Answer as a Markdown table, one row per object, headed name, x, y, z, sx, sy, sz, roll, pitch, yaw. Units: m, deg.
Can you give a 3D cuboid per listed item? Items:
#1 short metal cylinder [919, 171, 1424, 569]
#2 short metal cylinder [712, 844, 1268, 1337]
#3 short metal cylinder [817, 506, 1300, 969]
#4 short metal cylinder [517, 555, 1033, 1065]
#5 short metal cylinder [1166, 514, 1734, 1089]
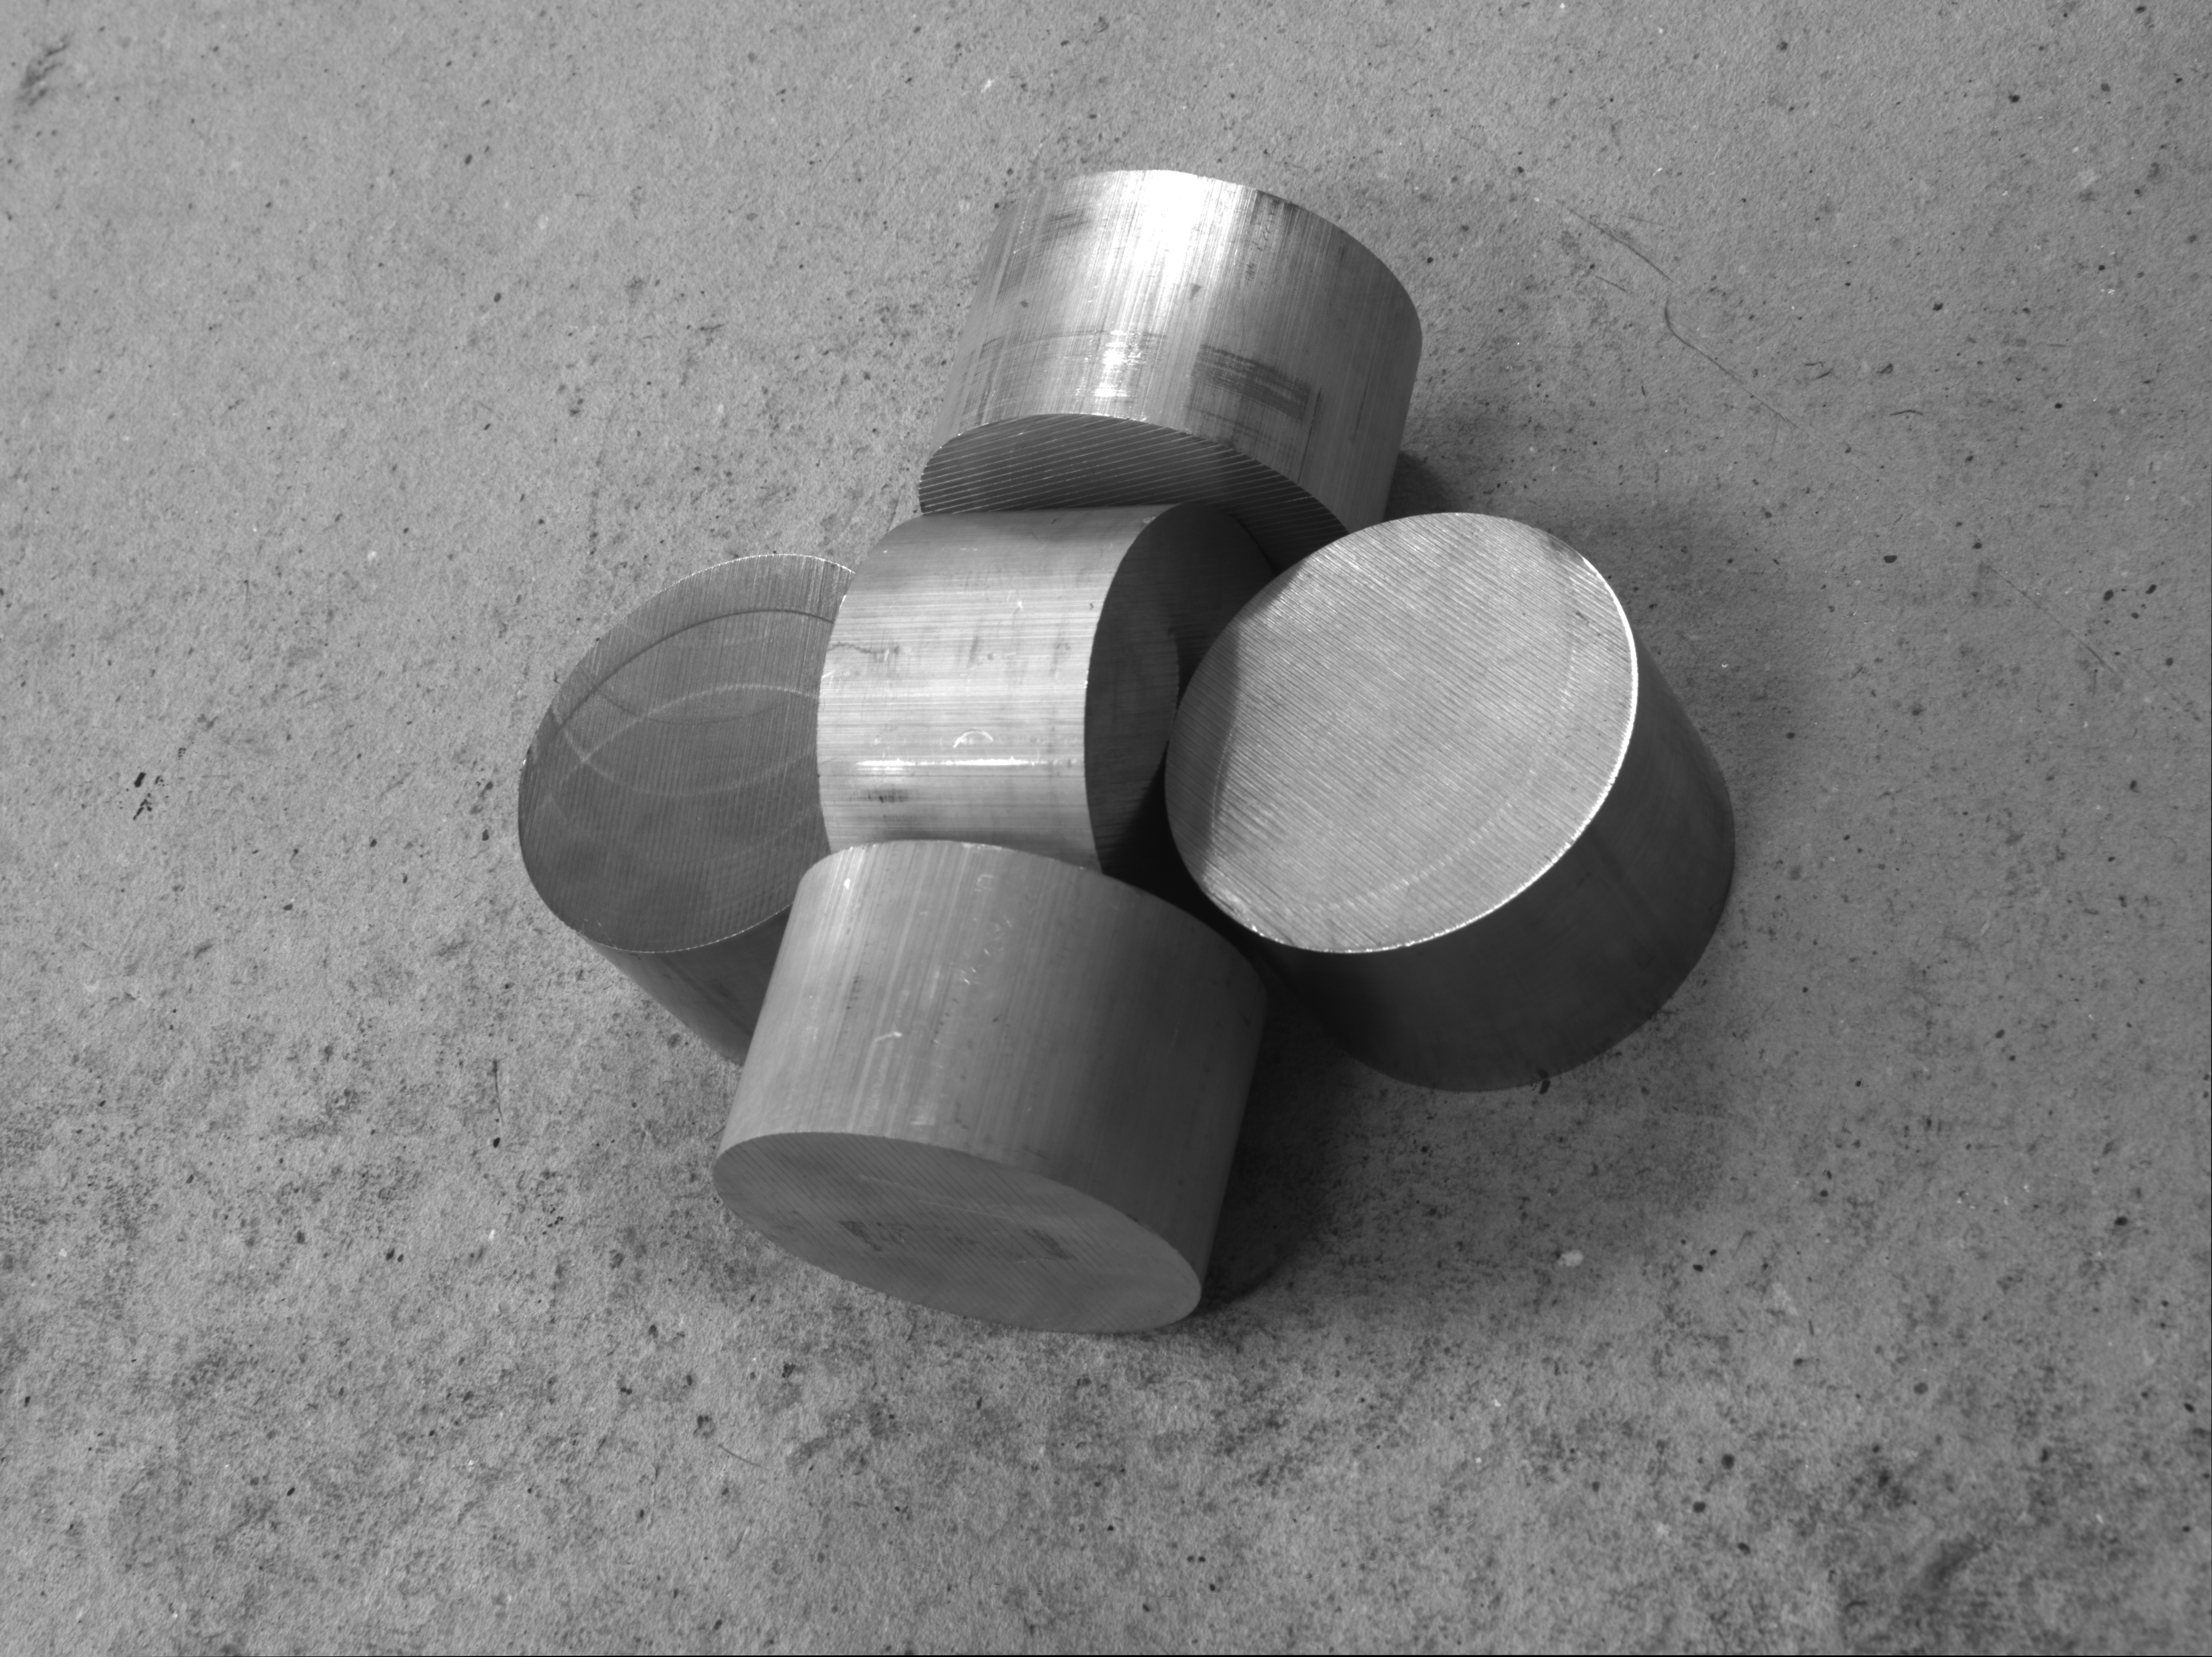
| name | x | y | z | sx | sy | sz | roll | pitch | yaw |
| --- | --- | --- | --- | --- | --- | --- | --- | --- | --- |
| short metal cylinder | 0.012 | -0.071 | 0.647 | 0.080 | 0.080 | 0.050 | 0 | 61 | 28 |
| short metal cylinder | -0.018 | 0.044 | 0.593 | 0.080 | 0.080 | 0.050 | 0 | 61 | 28 |
| short metal cylinder | -0.006 | -0.014 | 0.621 | 0.050 | 0.080 | 0.080 | 0 | 62 | 29 |
| short metal cylinder | -0.058 | -0.002 | 0.662 | 0.080 | 0.050 | 0.080 | -13 | 56 | 20 |
| short metal cylinder | 0.057 | -0.004 | 0.600 | 0.080 | 0.050 | 0.080 | -14 | 56 | 21 |
